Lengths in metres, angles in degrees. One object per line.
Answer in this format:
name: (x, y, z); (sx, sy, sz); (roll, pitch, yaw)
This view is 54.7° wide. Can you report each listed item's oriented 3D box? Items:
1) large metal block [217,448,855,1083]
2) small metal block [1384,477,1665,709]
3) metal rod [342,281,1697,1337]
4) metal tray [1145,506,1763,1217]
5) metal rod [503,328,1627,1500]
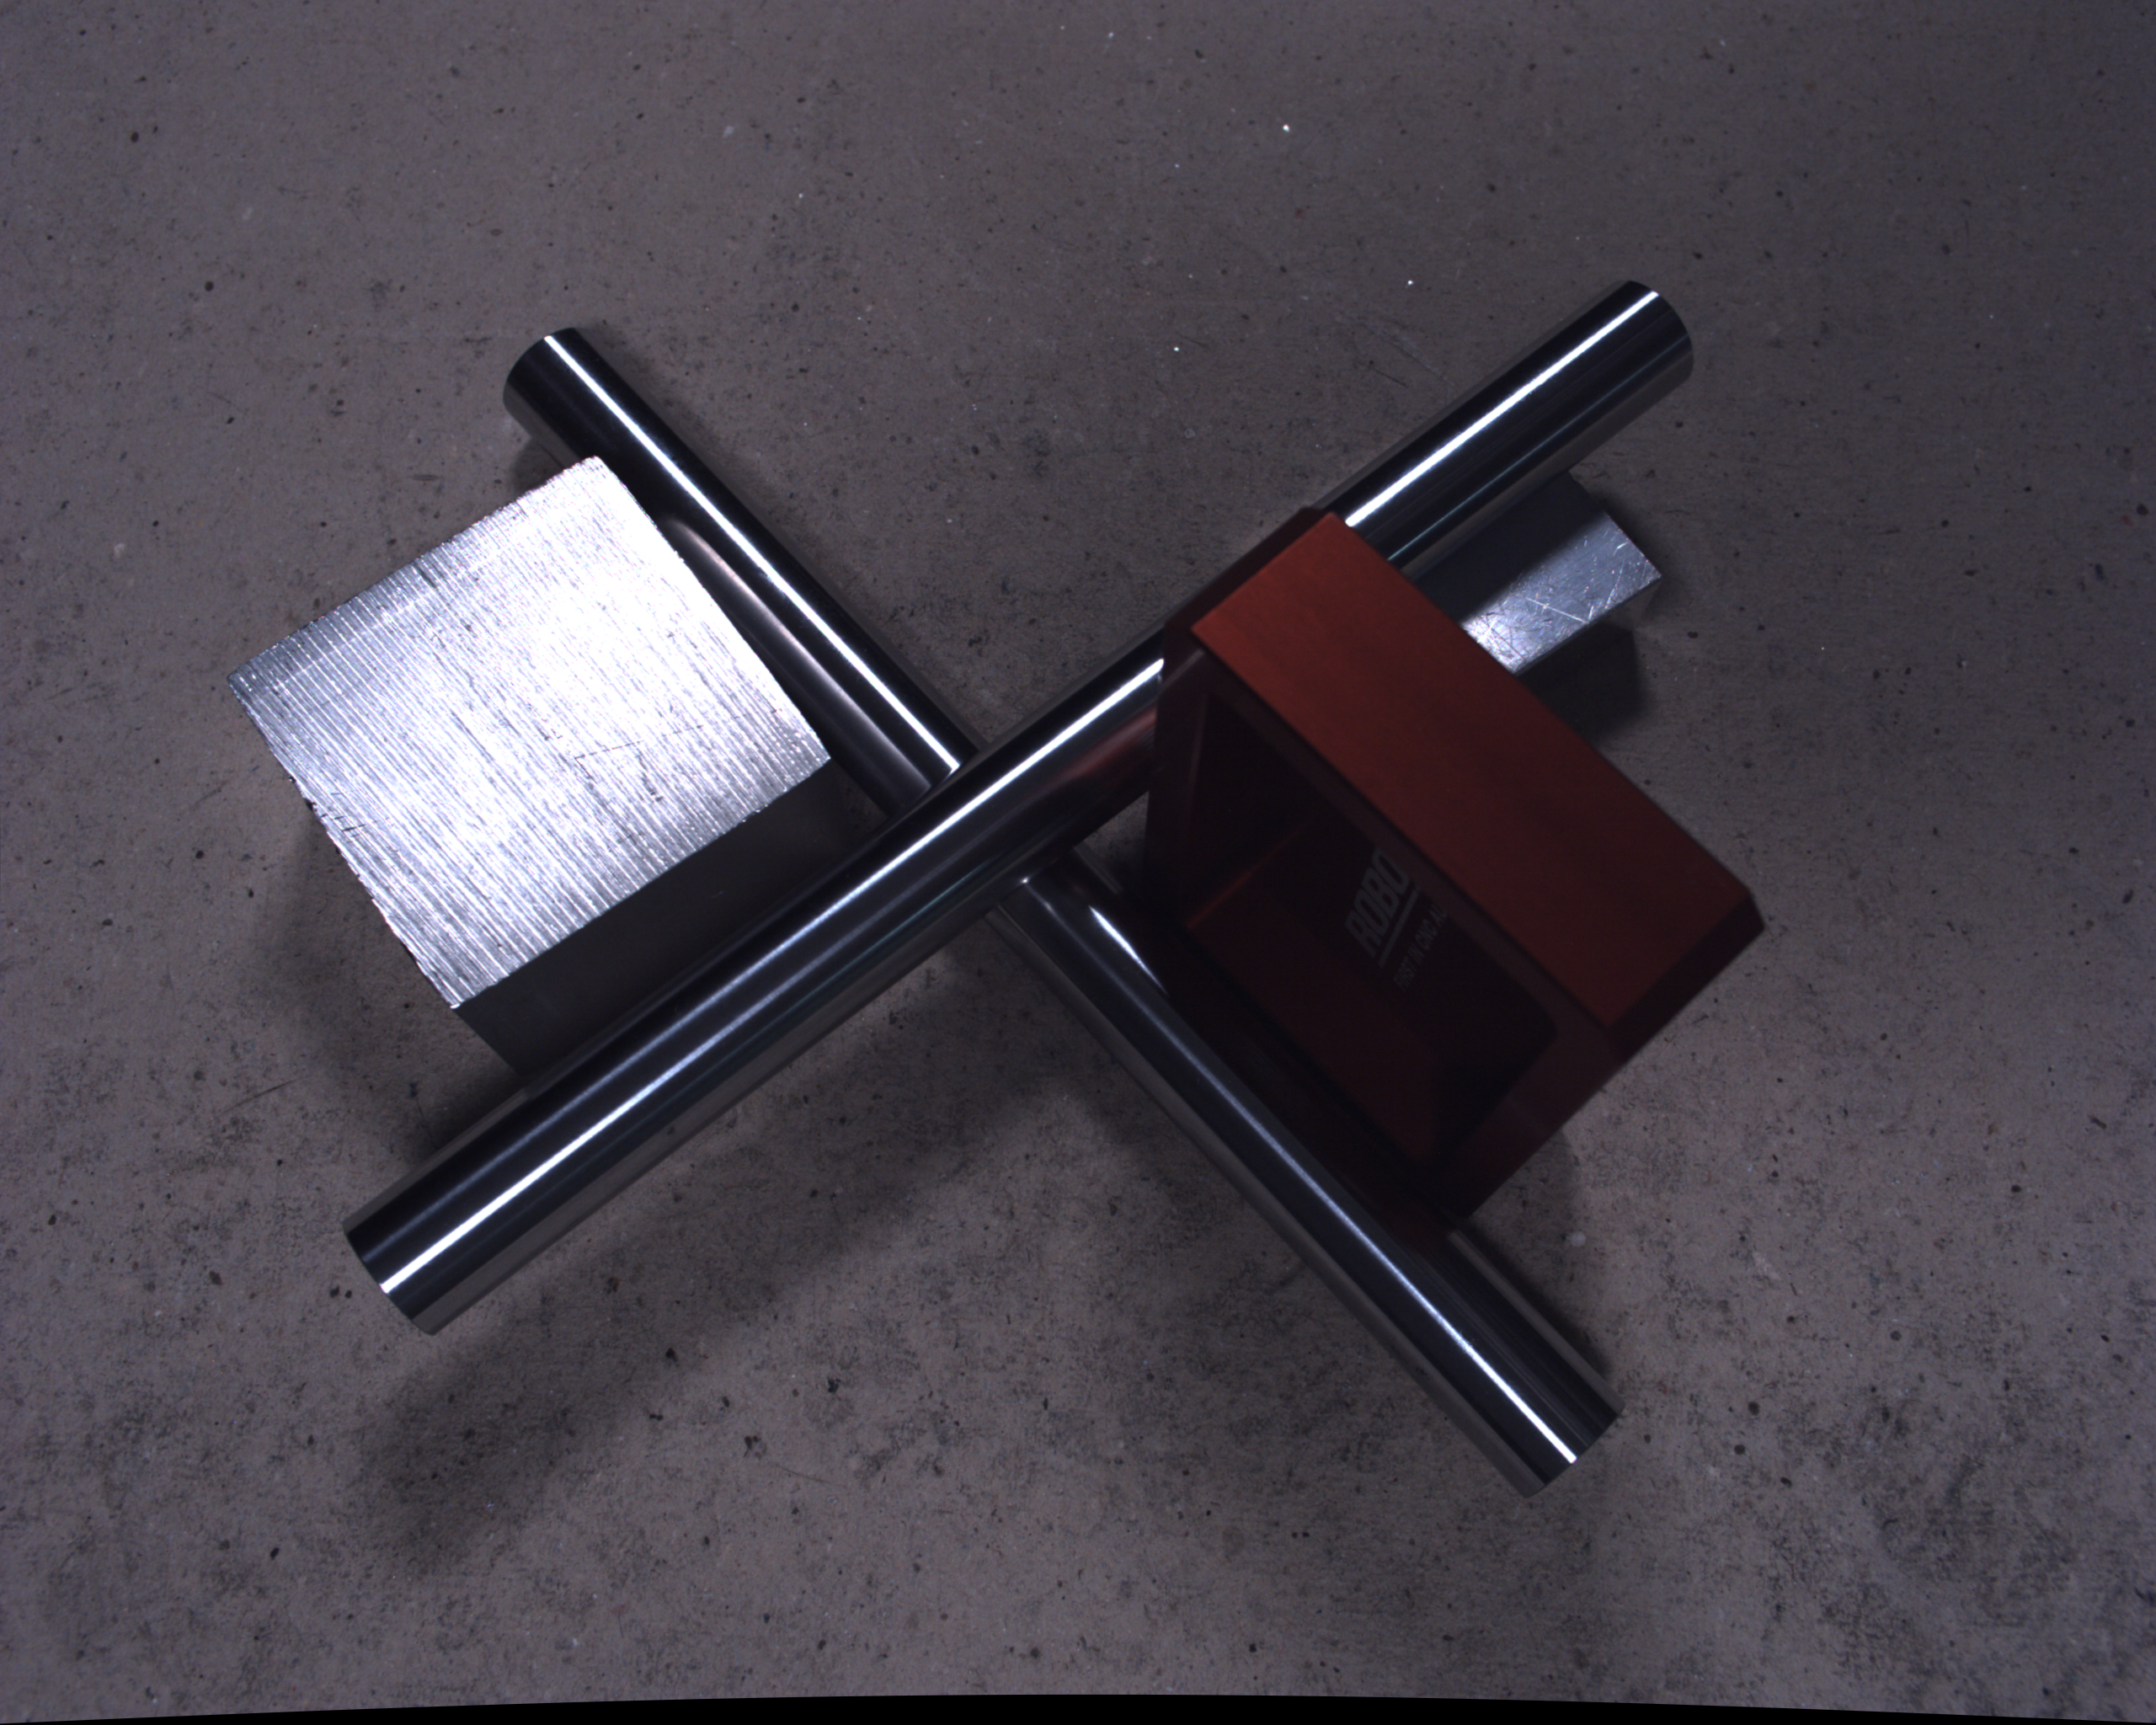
large metal block: (-0.100, -0.018, 0.400); (0.080, 0.050, 0.080); (-35, 74, -12)
small metal block: (0.083, -0.059, 0.432); (0.050, 0.025, 0.050); (-34, 74, -12)
metal rod: (-0.001, -0.018, 0.389); (0.301, 0.025, 0.025); (-37, 75, -13)
metal tray: (0.054, 0.007, 0.351); (0.030, 0.130, 0.090); (-41, 75, -13)
metal rod: (-0.012, 0.000, 0.409); (0.025, 0.025, 0.300); (-40, 75, -13)
